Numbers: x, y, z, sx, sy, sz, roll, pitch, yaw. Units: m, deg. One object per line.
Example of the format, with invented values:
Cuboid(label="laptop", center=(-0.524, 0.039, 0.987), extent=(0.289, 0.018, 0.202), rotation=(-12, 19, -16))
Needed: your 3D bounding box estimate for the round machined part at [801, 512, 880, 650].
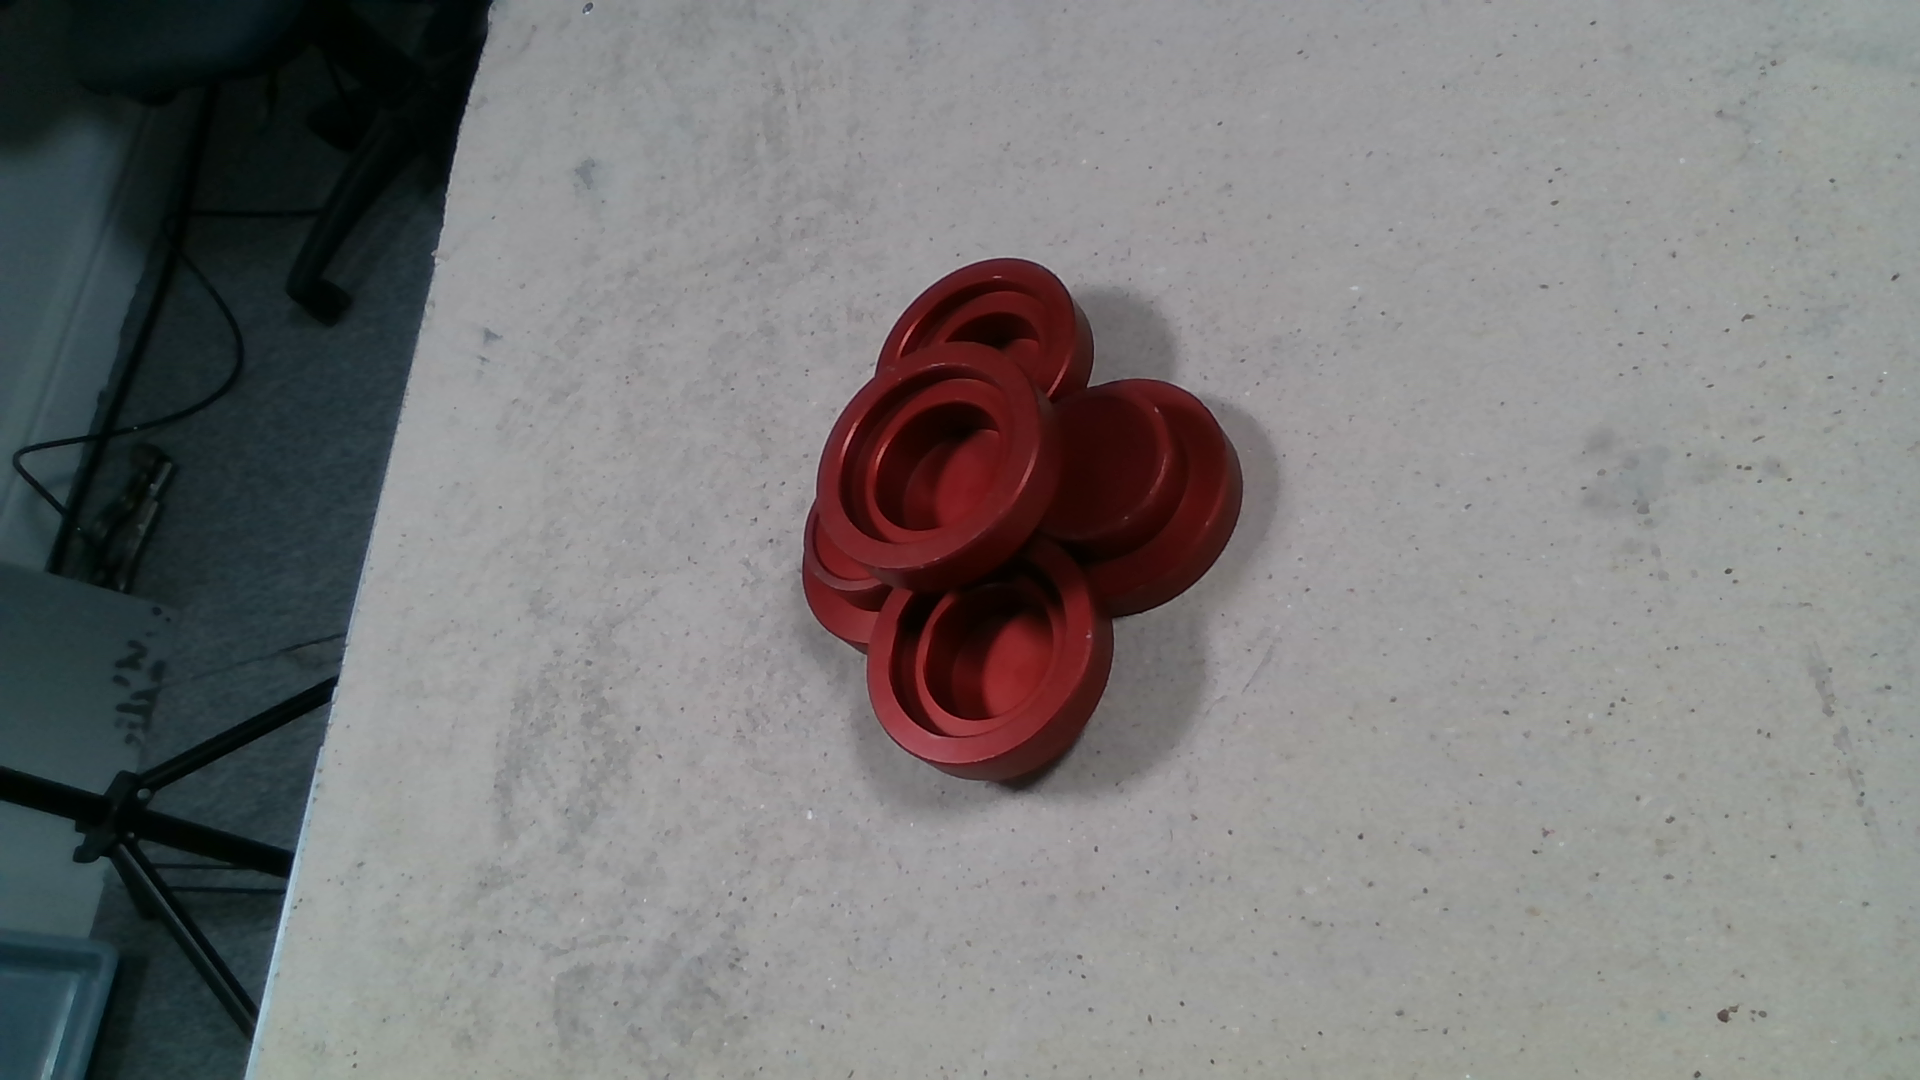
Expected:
Cuboid(label="round machined part", center=(-0.028, -0.001, 0.592), extent=(0.098, 0.042, 0.098), rotation=(-14, 59, 25))

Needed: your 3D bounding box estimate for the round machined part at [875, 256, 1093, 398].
Cuboid(label="round machined part", center=(0.014, -0.072, 0.604), extent=(0.098, 0.042, 0.098), rotation=(-14, 59, 25))

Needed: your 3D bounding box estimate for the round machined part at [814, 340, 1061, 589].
Cuboid(label="round machined part", center=(-0.005, -0.025, 0.536), extent=(0.098, 0.042, 0.098), rotation=(-15, 59, 25))

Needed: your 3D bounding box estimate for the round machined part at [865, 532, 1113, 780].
Cuboid(label="round machined part", center=(0.015, 0.047, 0.540), extent=(0.098, 0.042, 0.098), rotation=(-14, 59, 25))

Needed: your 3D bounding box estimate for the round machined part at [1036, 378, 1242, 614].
Cuboid(label="round machined part", center=(0.059, -0.023, 0.550), extent=(0.098, 0.042, 0.098), rotation=(-14, 59, 25))
